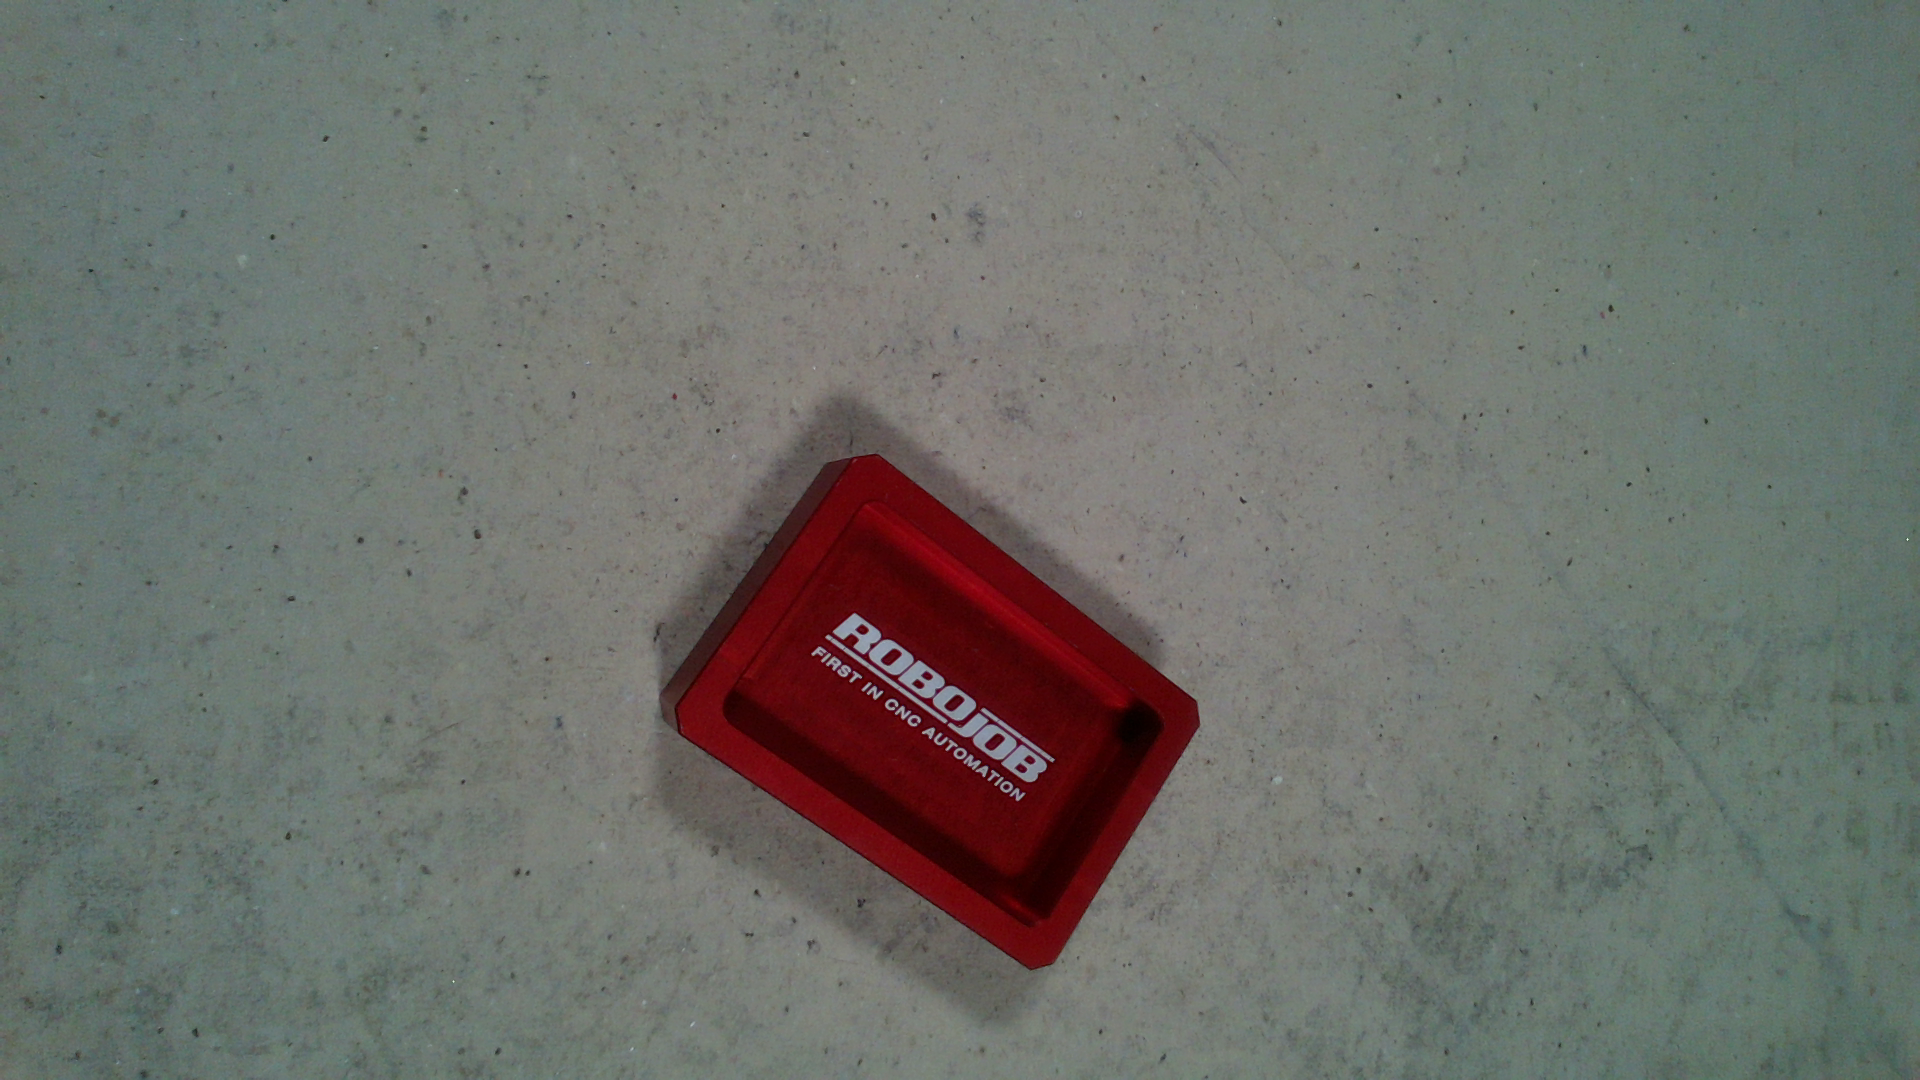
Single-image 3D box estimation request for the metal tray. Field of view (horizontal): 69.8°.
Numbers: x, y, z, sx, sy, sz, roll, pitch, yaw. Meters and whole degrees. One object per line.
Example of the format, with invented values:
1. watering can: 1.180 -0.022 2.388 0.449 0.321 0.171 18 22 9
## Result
1. metal tray: -0.006 0.048 0.389 0.130 0.030 0.090 38 78 -16
